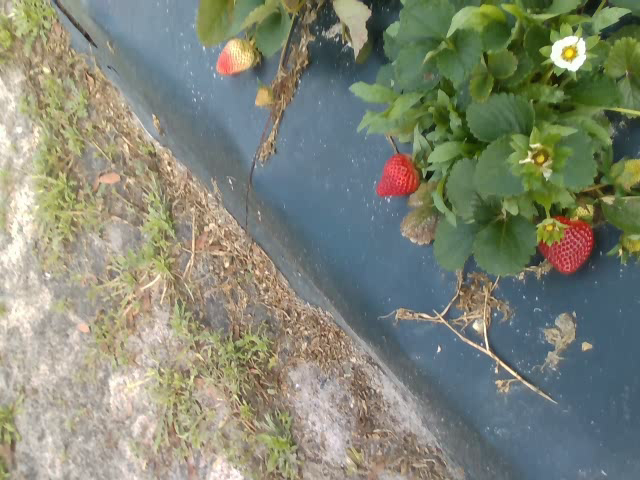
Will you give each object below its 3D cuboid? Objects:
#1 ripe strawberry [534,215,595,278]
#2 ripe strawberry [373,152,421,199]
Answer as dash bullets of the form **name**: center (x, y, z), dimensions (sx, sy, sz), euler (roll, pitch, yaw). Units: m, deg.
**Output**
- **ripe strawberry**: center (0.188, 0.006, 0.483), dimensions (0.046, 0.046, 0.043), euler (15, -30, -26)
- **ripe strawberry**: center (0.072, -0.058, 0.579), dimensions (0.050, 0.043, 0.042), euler (-44, -24, 23)
